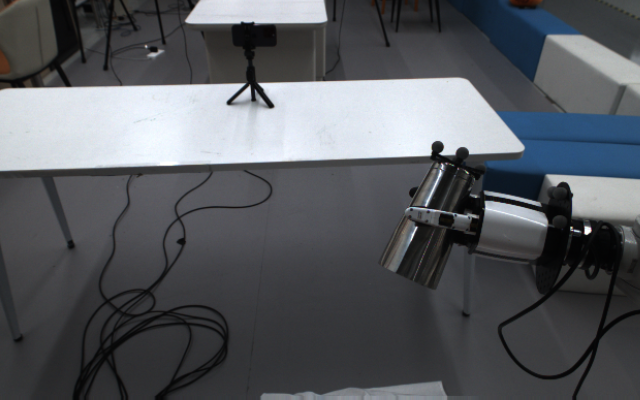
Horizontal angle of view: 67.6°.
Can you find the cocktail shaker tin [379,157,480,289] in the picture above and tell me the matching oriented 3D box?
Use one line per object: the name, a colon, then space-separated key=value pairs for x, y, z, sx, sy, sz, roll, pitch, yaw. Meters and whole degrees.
cocktail shaker tin: x=0.163 y=0.030 z=0.706 sx=0.093 sy=0.170 sz=0.093 roll=23 pitch=0 yaw=0
